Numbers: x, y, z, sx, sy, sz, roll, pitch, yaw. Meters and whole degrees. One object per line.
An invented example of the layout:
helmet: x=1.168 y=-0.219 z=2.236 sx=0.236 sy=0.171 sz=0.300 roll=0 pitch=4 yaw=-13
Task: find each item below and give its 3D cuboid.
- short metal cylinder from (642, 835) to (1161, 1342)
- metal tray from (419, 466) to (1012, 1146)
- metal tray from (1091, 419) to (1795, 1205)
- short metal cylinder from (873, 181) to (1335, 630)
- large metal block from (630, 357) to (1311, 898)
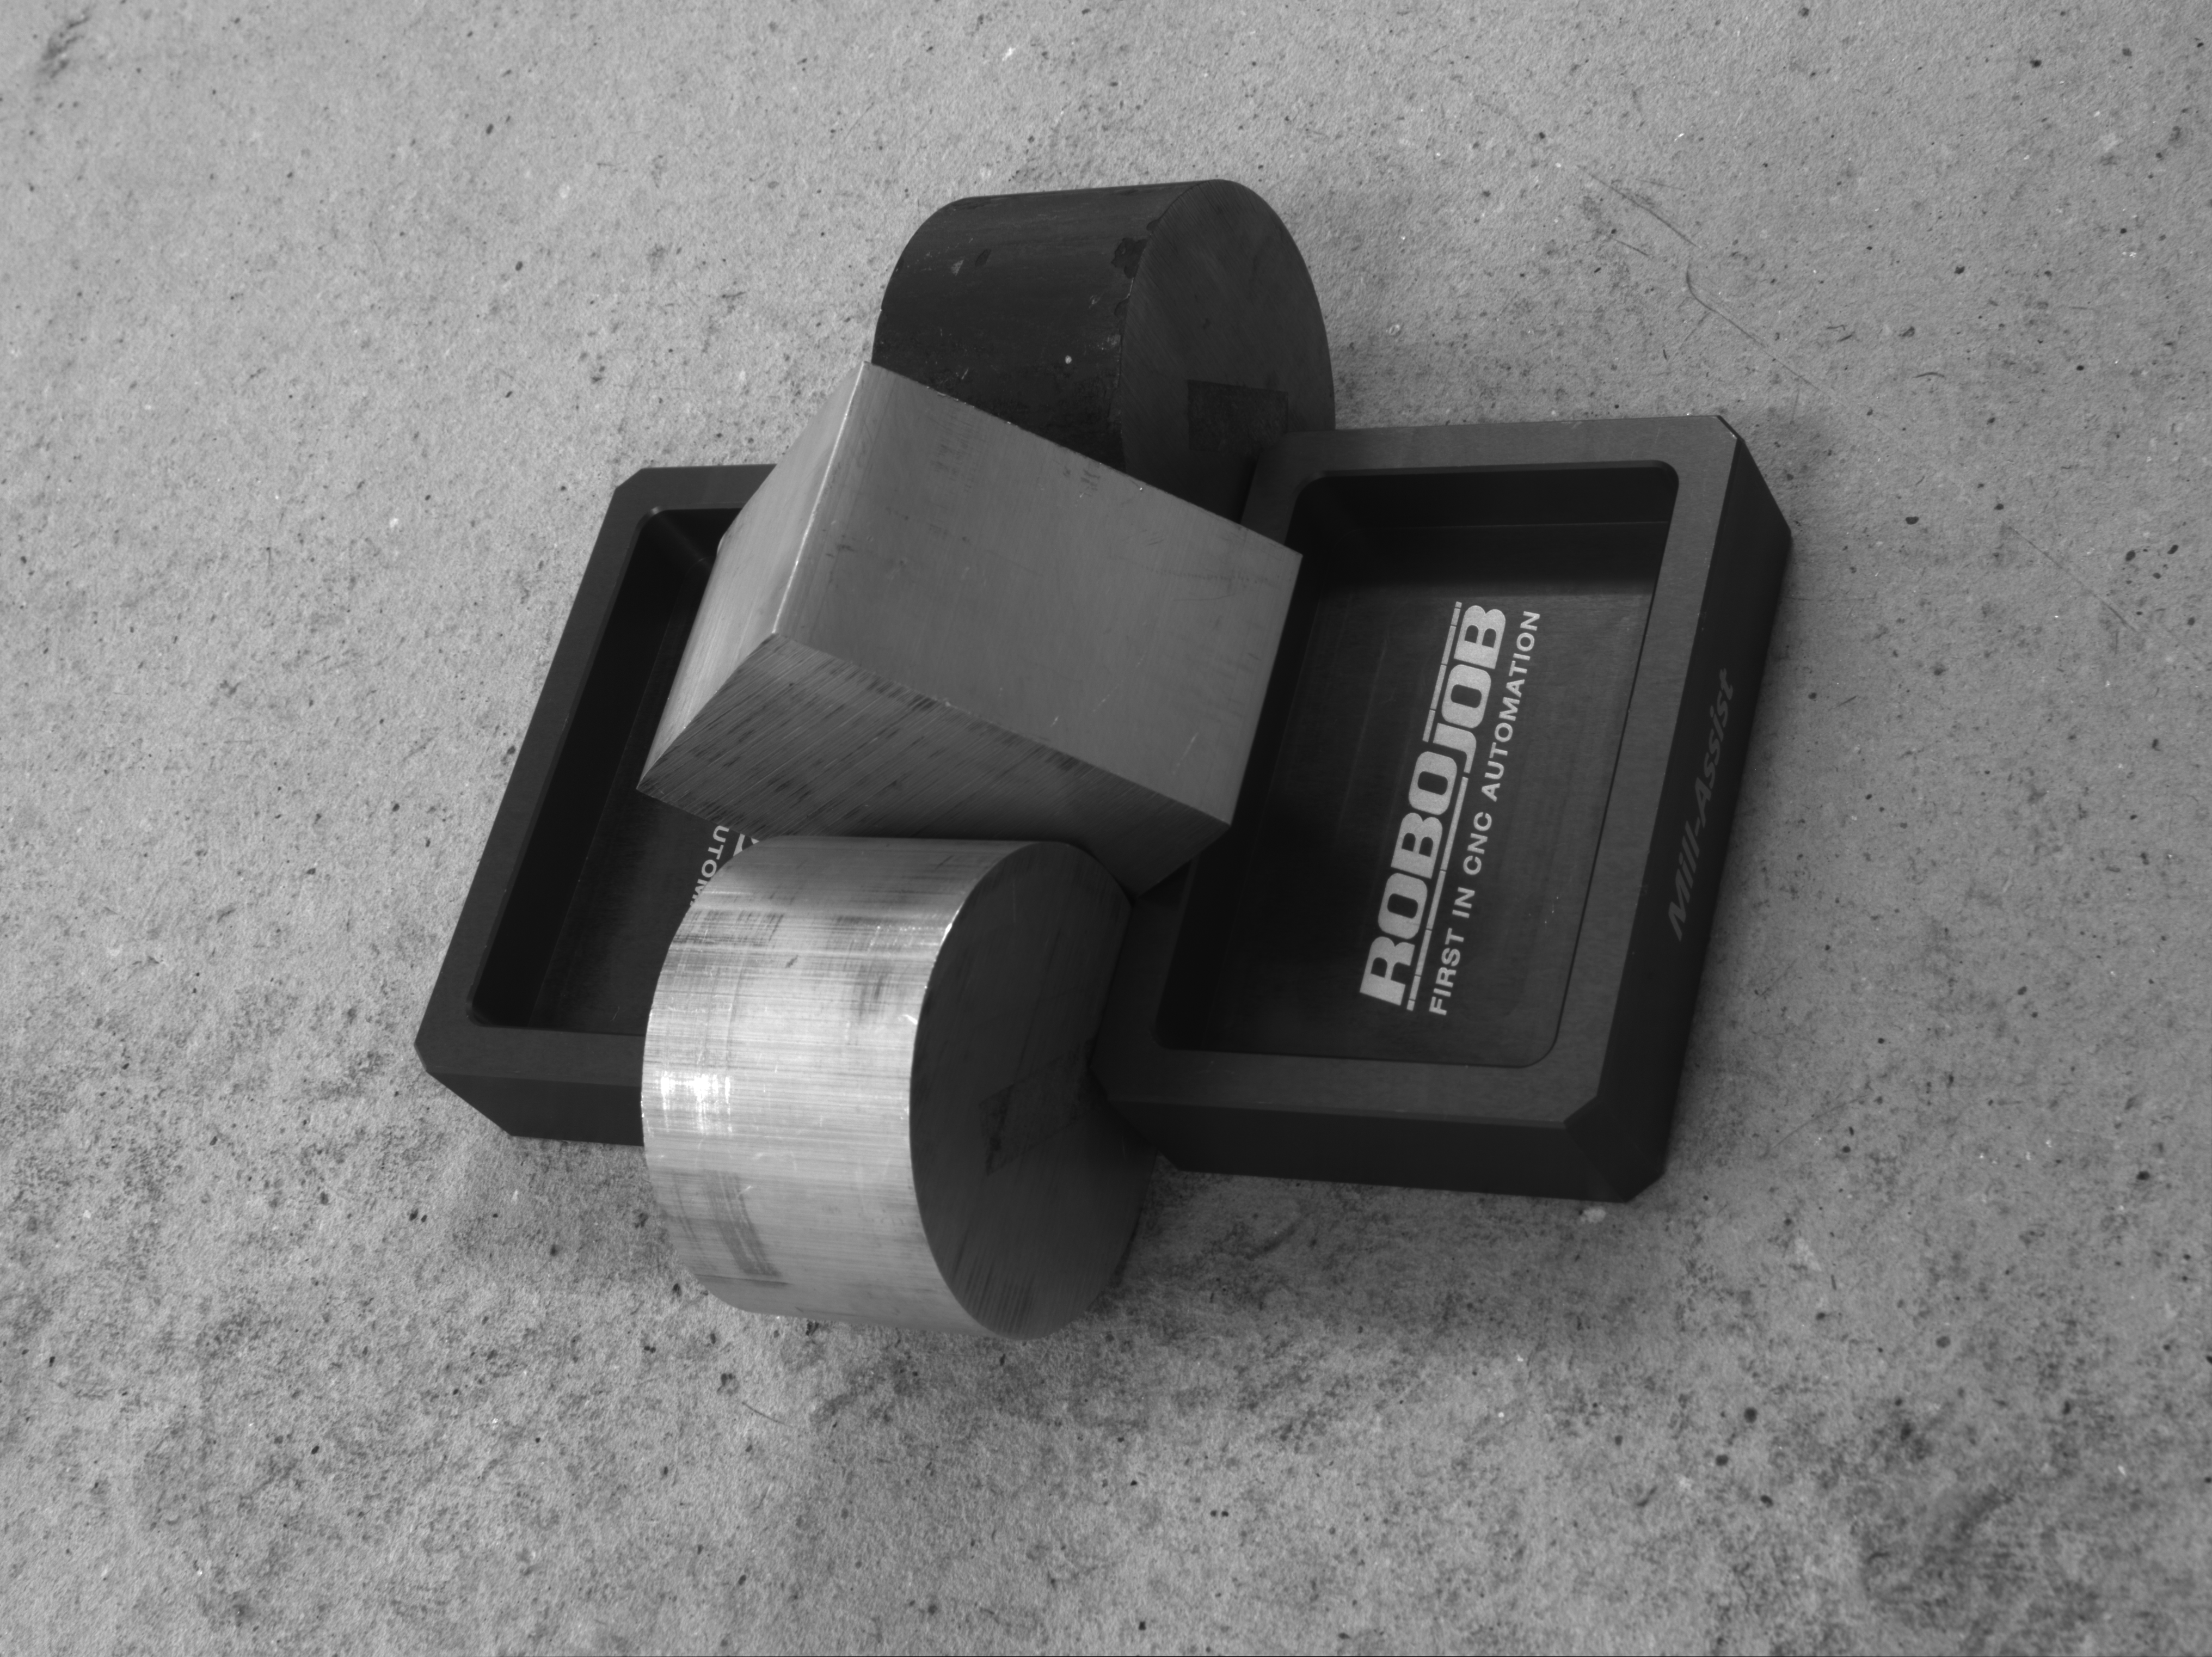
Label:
short metal cylinder: x=-0.032 y=0.041 z=0.602 sx=0.050 sy=0.080 sz=0.080 roll=2 pitch=63 yaw=29
metal tray: x=-0.065 y=-0.005 z=0.682 sx=0.090 sy=0.030 sz=0.130 roll=2 pitch=62 yaw=29
metal tray: x=0.058 y=-0.005 z=0.615 sx=0.090 sy=0.030 sz=0.130 roll=2 pitch=62 yaw=29
short metal cylinder: x=0.001 y=-0.074 z=0.655 sx=0.050 sy=0.080 sz=0.080 roll=2 pitch=63 yaw=29
large metal block: x=-0.024 y=-0.026 z=0.612 sx=0.080 sy=0.080 sz=0.050 roll=-36 pitch=35 yaw=61
